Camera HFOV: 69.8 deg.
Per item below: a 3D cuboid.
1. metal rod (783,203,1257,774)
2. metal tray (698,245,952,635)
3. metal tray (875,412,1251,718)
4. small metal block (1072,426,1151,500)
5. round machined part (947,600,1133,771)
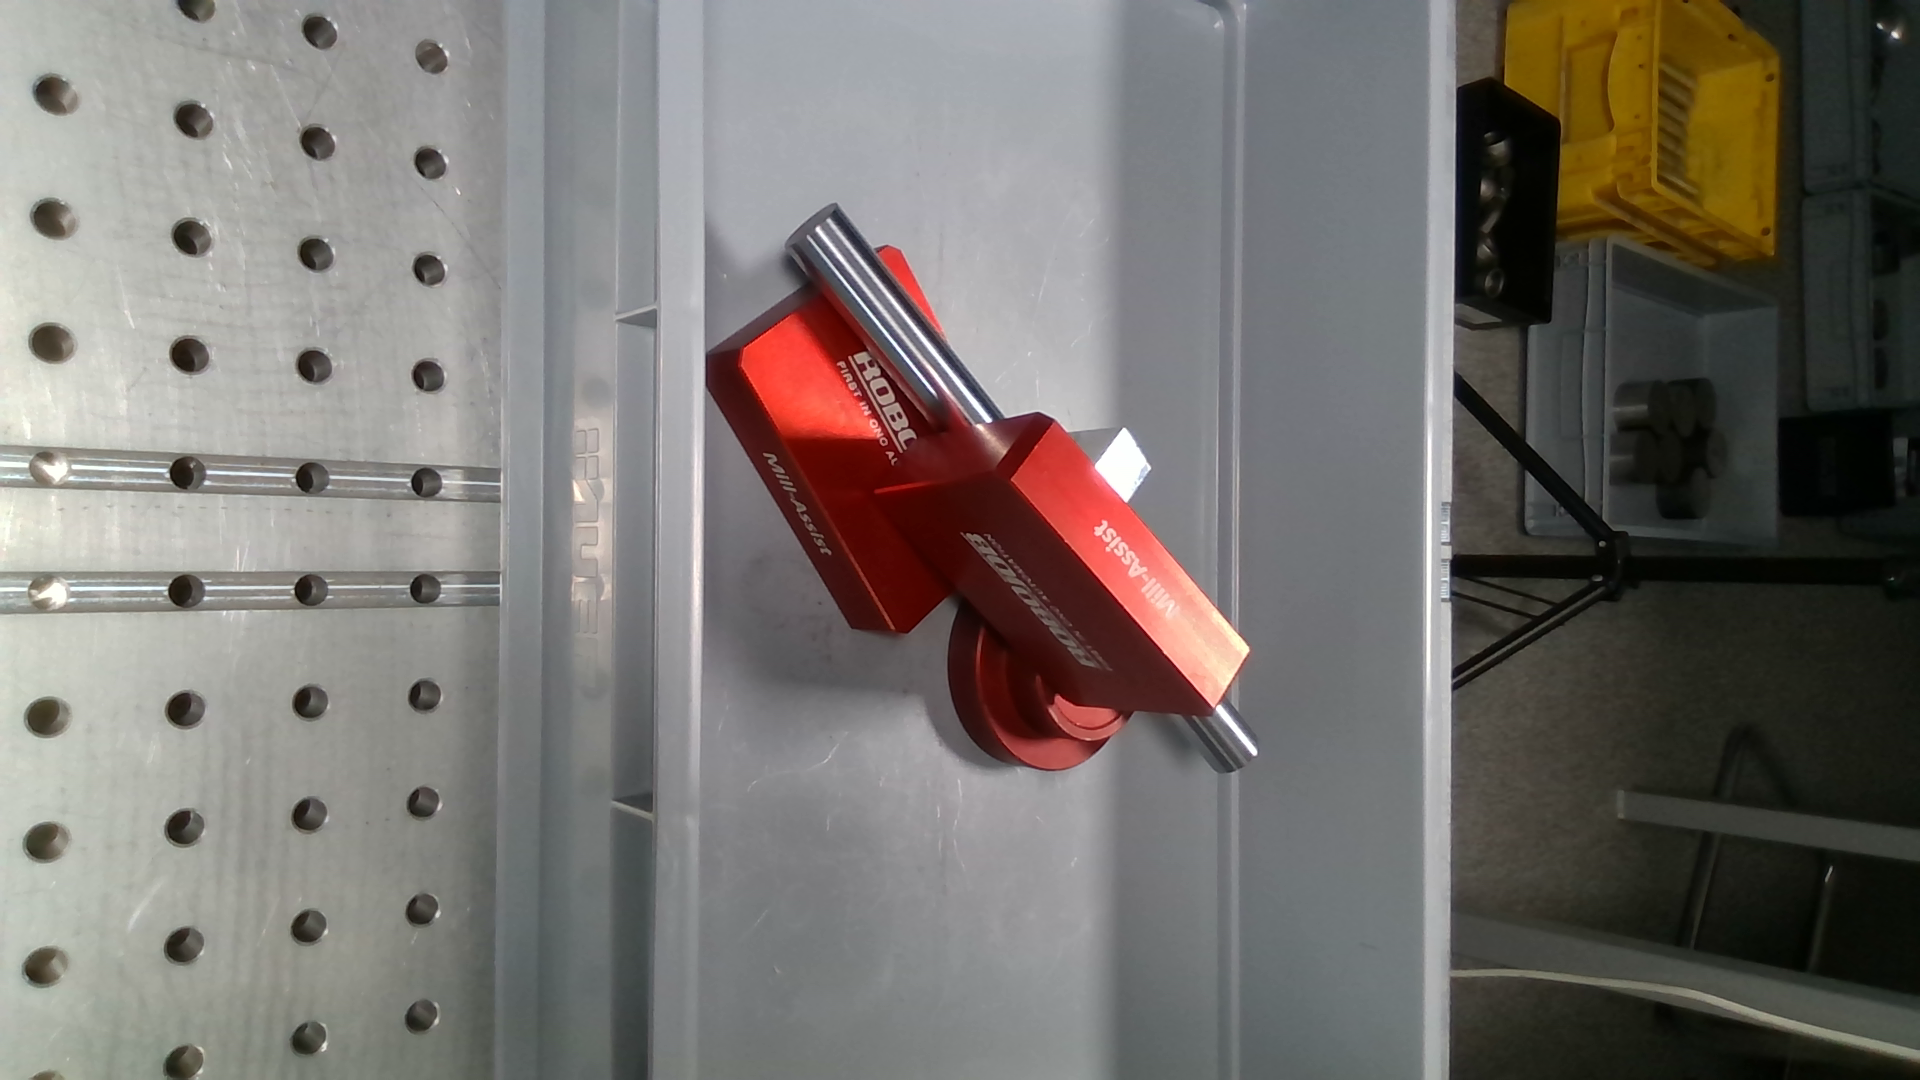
[{"bbox_3d":[0.034,-0.009,0.560,0.301,0.025,0.025,50,60,-24],"label":"metal rod"},{"bbox_3d":[-0.034,-0.039,0.549,0.090,0.030,0.130,-43,116,-32],"label":"metal tray"},{"bbox_3d":[0.038,0.013,0.522,0.130,0.090,0.030,47,64,-22],"label":"metal tray"},{"bbox_3d":[0.047,-0.023,0.606,0.050,0.050,0.025,-52,121,-27],"label":"small metal block"},{"bbox_3d":[0.045,0.053,0.608,0.098,0.042,0.098,0,90,-40],"label":"round machined part"}]
